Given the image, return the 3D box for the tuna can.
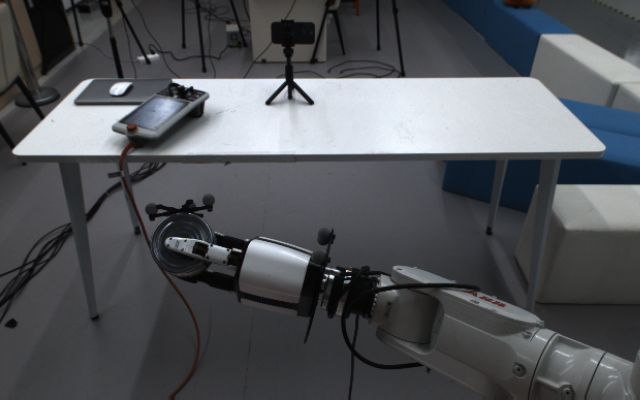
[{"bbox_3d":[-0.184,0.061,0.661,0.085,0.034,0.085,0,72,-1],"label":"tuna can"}]
